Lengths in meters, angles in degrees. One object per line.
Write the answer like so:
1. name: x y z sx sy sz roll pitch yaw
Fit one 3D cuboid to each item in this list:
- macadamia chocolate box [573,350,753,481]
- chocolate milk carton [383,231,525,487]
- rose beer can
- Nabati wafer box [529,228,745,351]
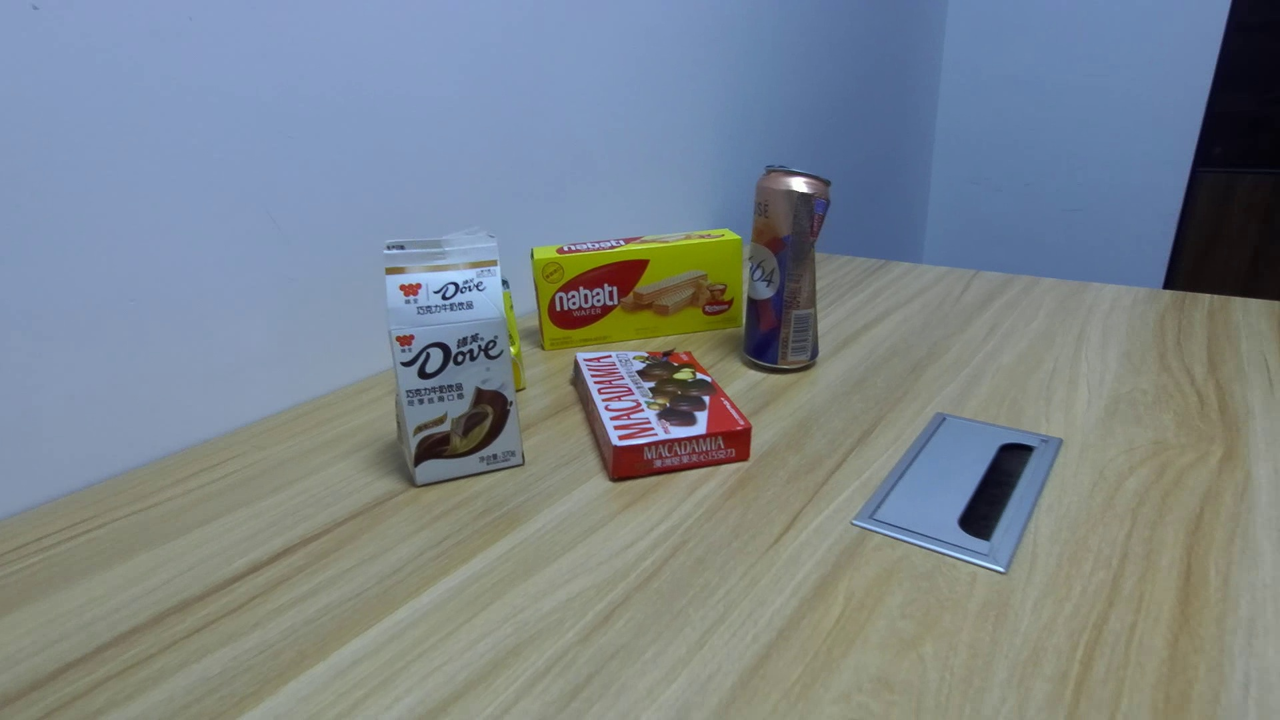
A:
1. macadamia chocolate box: 0.010 0.029 0.537 0.103 0.027 0.186 -6 22 -12
2. chocolate milk carton: -0.127 -0.005 0.470 0.084 0.155 0.073 -10 23 -14
3. rose beer can: 0.122 -0.075 0.590 0.069 0.168 0.070 13 21 32
4. Nabati wafer box: 0.000 -0.069 0.689 0.203 0.093 0.042 -7 20 -10
